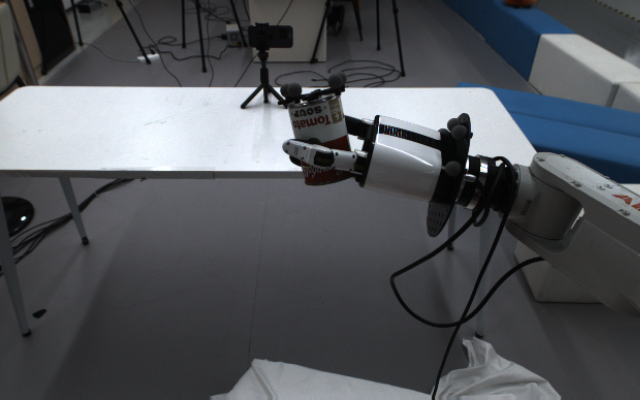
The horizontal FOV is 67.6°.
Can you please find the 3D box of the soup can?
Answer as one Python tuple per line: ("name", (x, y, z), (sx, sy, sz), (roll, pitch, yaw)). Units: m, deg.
("soup can", (0.004, -0.076, 0.607), (0.067, 0.101, 0.067), (-12, 17, 4))
